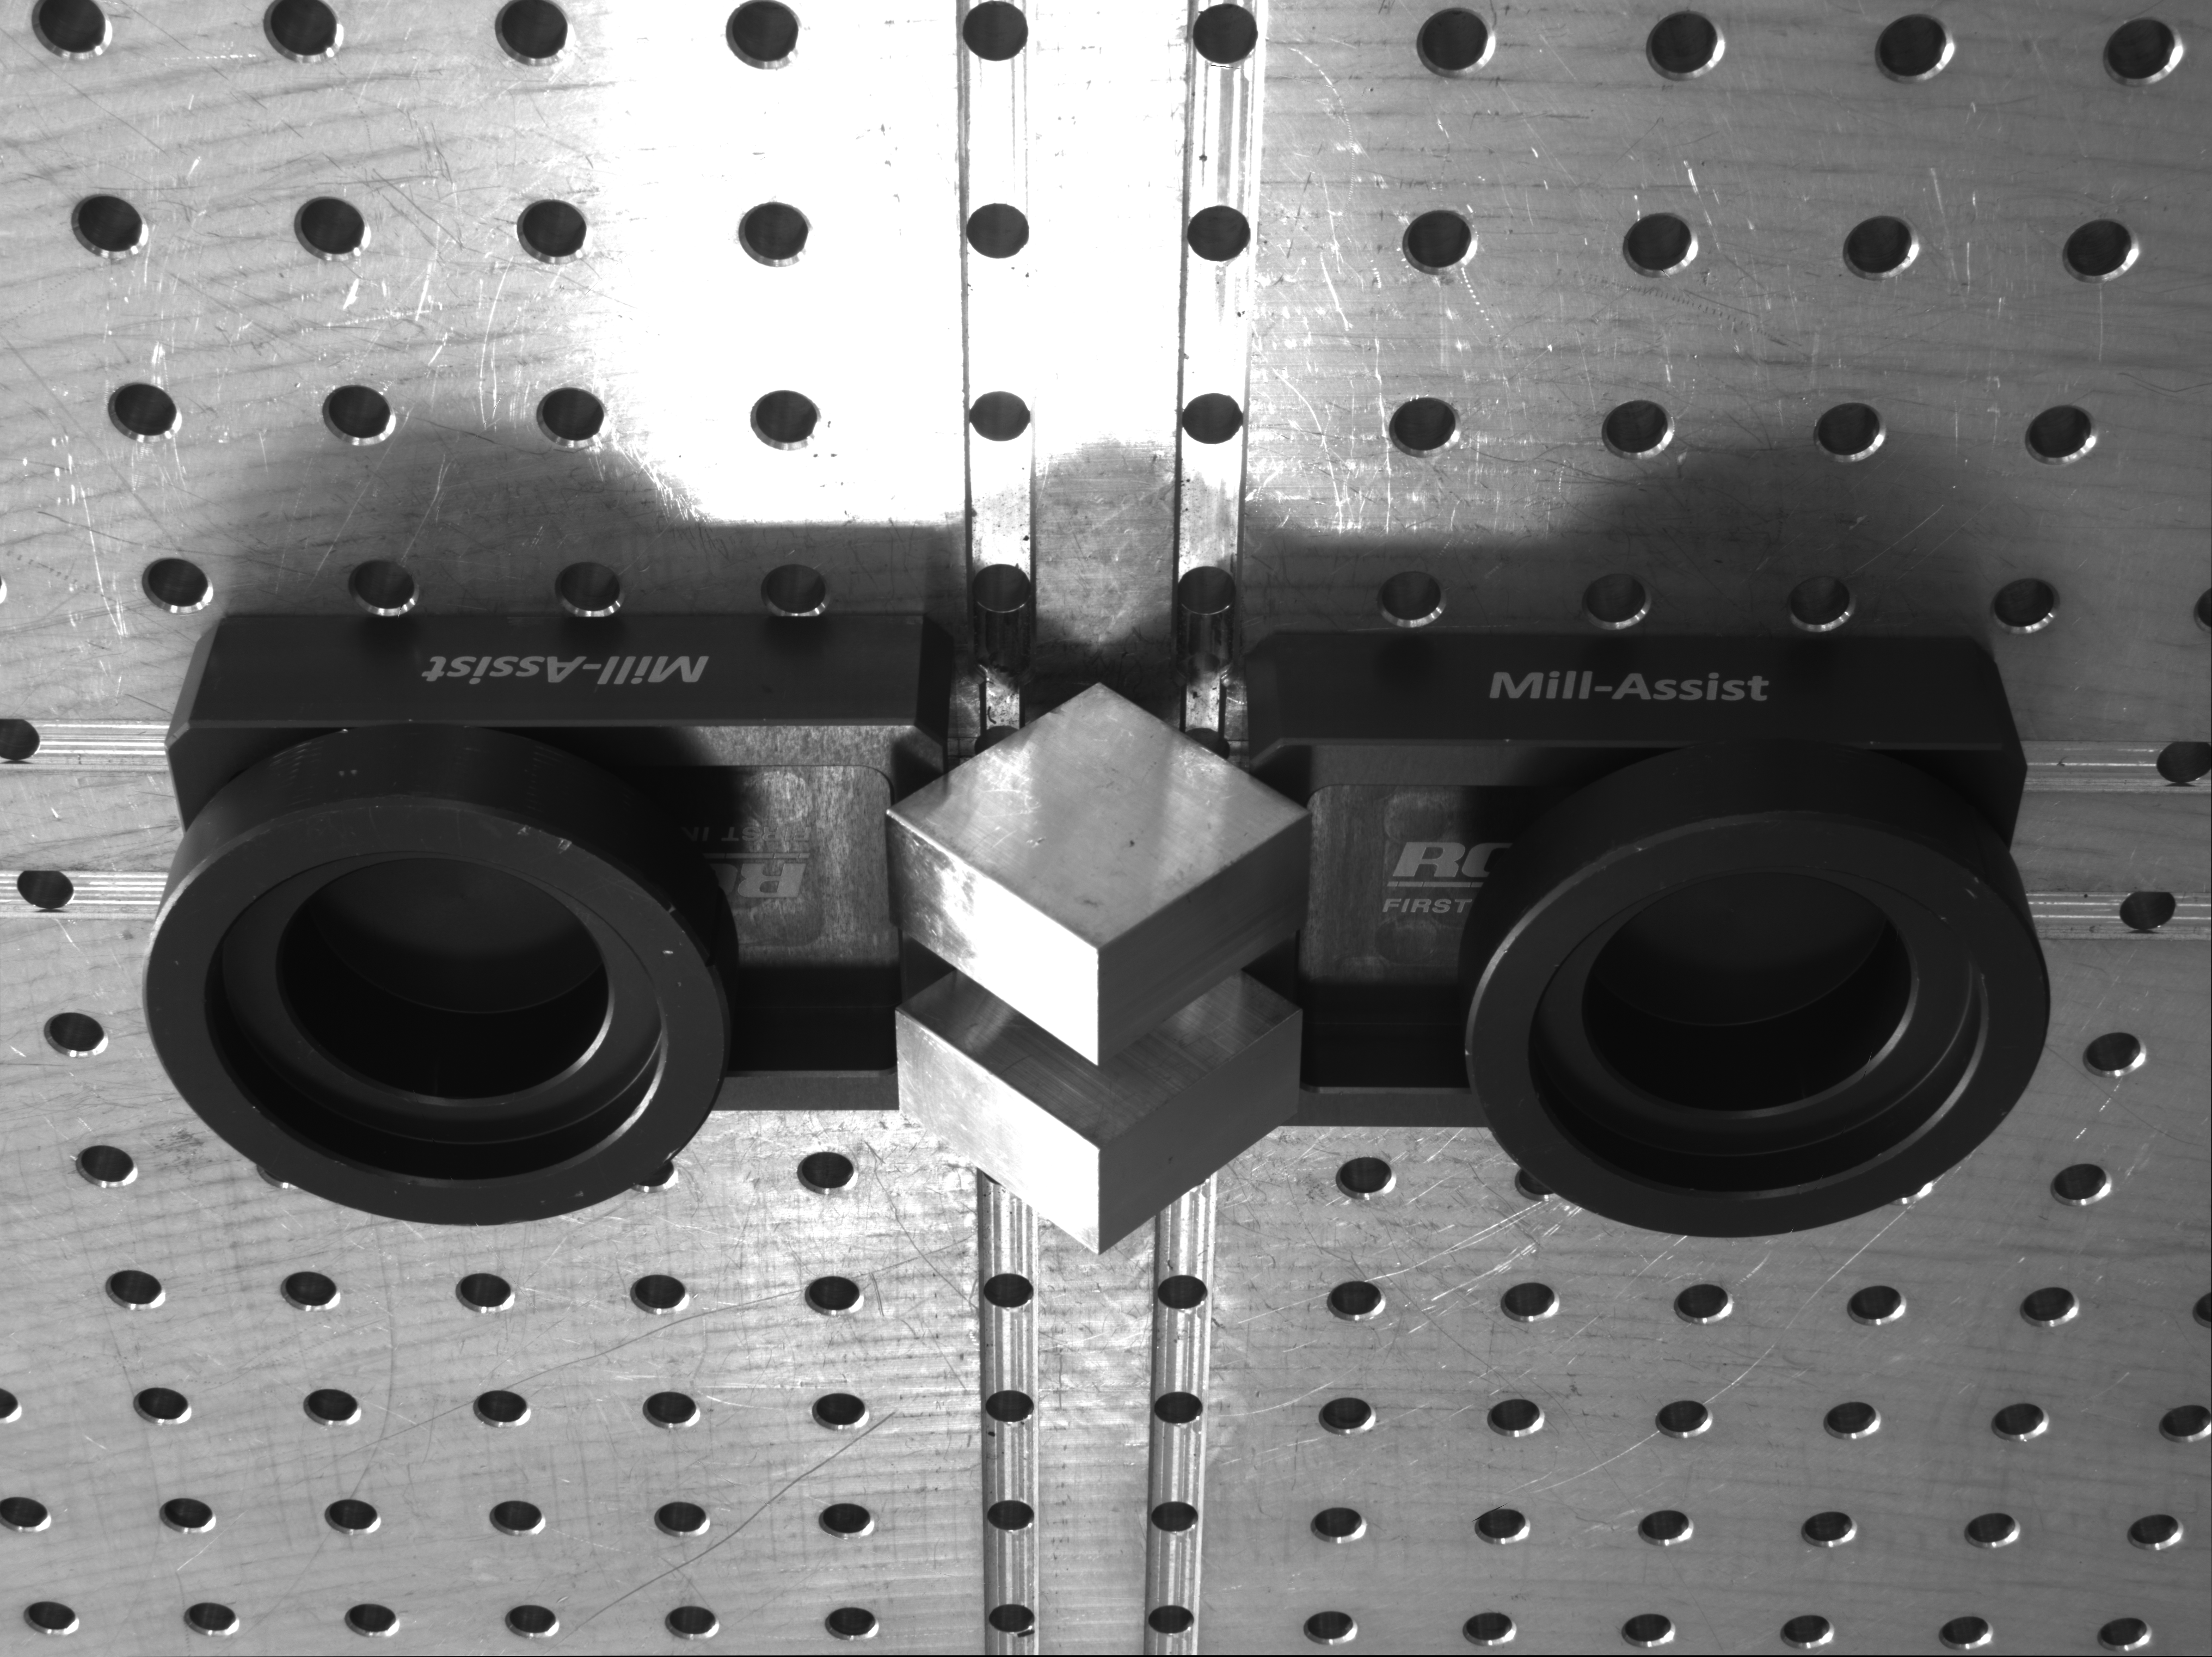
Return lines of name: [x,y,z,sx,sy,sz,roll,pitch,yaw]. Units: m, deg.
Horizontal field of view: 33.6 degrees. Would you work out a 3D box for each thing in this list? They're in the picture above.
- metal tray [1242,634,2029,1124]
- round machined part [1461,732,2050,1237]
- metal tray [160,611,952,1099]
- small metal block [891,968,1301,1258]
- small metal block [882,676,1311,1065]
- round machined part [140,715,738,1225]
metal tray: [0.089,0.010,0.649,0.130,0.030,0.090,0,130,-1]
round machined part: [0.110,0.022,0.634,0.098,0.042,0.098,0,130,0]
metal tray: [-0.091,0.006,0.645,0.130,0.030,0.090,-1,132,0]
small metal block: [-0.002,0.041,0.641,0.050,0.050,0.025,33,139,32]
small metal block: [-0.002,0.006,0.612,0.050,0.050,0.025,33,139,32]
round machined part: [-0.112,0.020,0.631,0.098,0.042,0.098,0,130,0]
